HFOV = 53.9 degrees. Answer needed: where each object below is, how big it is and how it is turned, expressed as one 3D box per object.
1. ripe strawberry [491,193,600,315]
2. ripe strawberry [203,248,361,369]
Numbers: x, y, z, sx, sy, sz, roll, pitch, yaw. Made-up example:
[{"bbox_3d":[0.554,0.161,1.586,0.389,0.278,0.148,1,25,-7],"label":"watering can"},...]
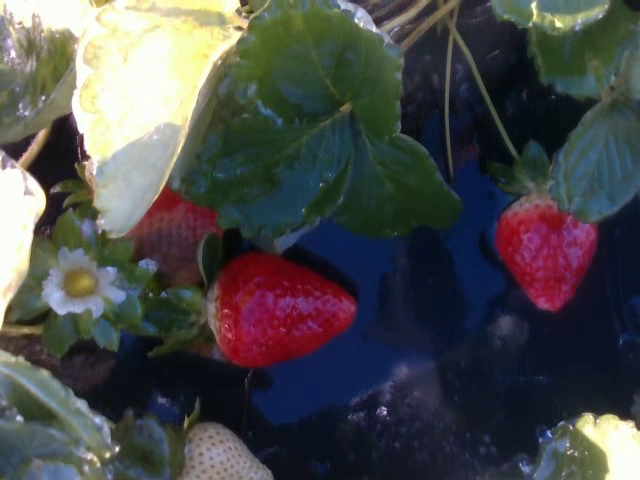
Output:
[{"bbox_3d":[0.081,0.005,0.214,0.039,0.047,0.040,-7,10,-9],"label":"ripe strawberry"},{"bbox_3d":[-0.010,0.029,0.220,0.056,0.044,0.040,4,19,-12],"label":"ripe strawberry"}]
